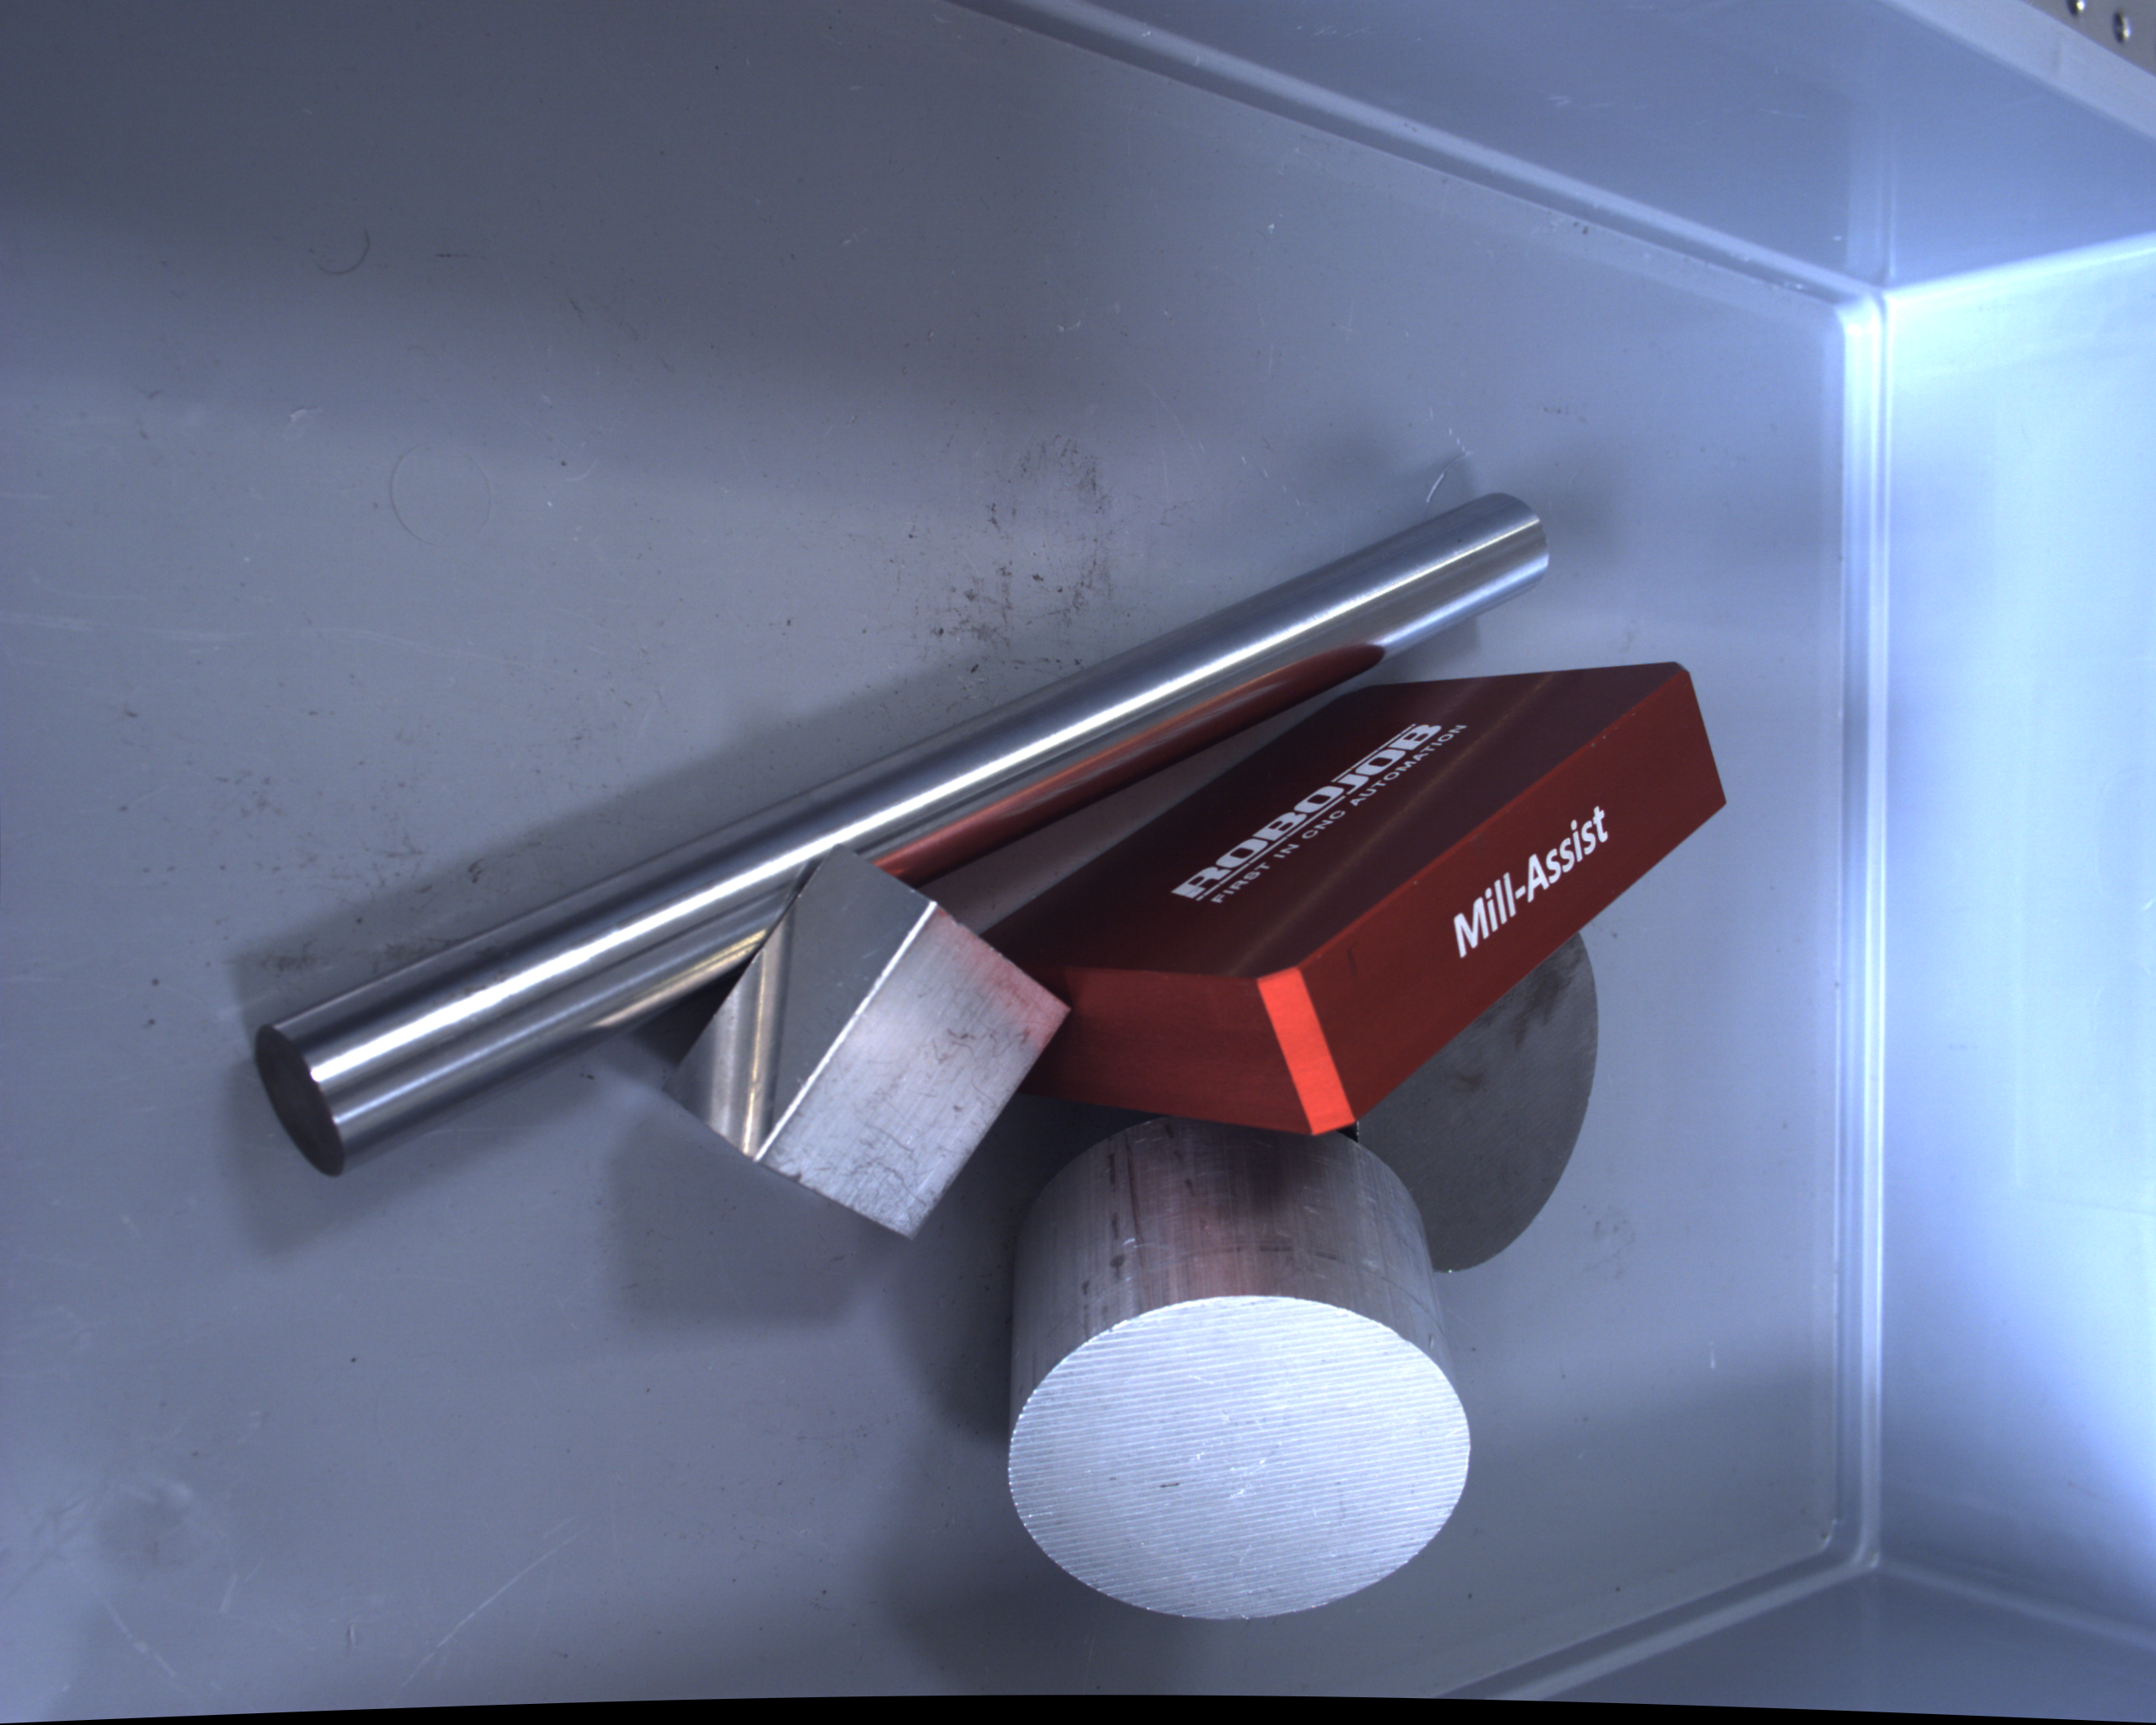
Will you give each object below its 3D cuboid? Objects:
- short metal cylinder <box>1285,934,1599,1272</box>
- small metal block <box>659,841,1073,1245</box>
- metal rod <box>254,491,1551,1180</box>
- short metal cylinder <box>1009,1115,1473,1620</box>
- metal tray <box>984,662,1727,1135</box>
[{"bbox_3d":[0.065,0.040,0.436,0.081,0.050,0.079,-11,106,-42],"label":"short metal cylinder"},{"bbox_3d":[-0.035,0.032,0.359,0.050,0.025,0.050,-56,143,-7],"label":"small metal block"},{"bbox_3d":[-0.008,-0.020,0.398,0.302,0.025,0.025,-27,107,-37],"label":"metal rod"},{"bbox_3d":[0.028,0.092,0.384,0.080,0.080,0.050,55,17,-26],"label":"short metal cylinder"},{"bbox_3d":[0.053,0.002,0.406,0.131,0.090,0.030,-33,111,-35],"label":"metal tray"}]
